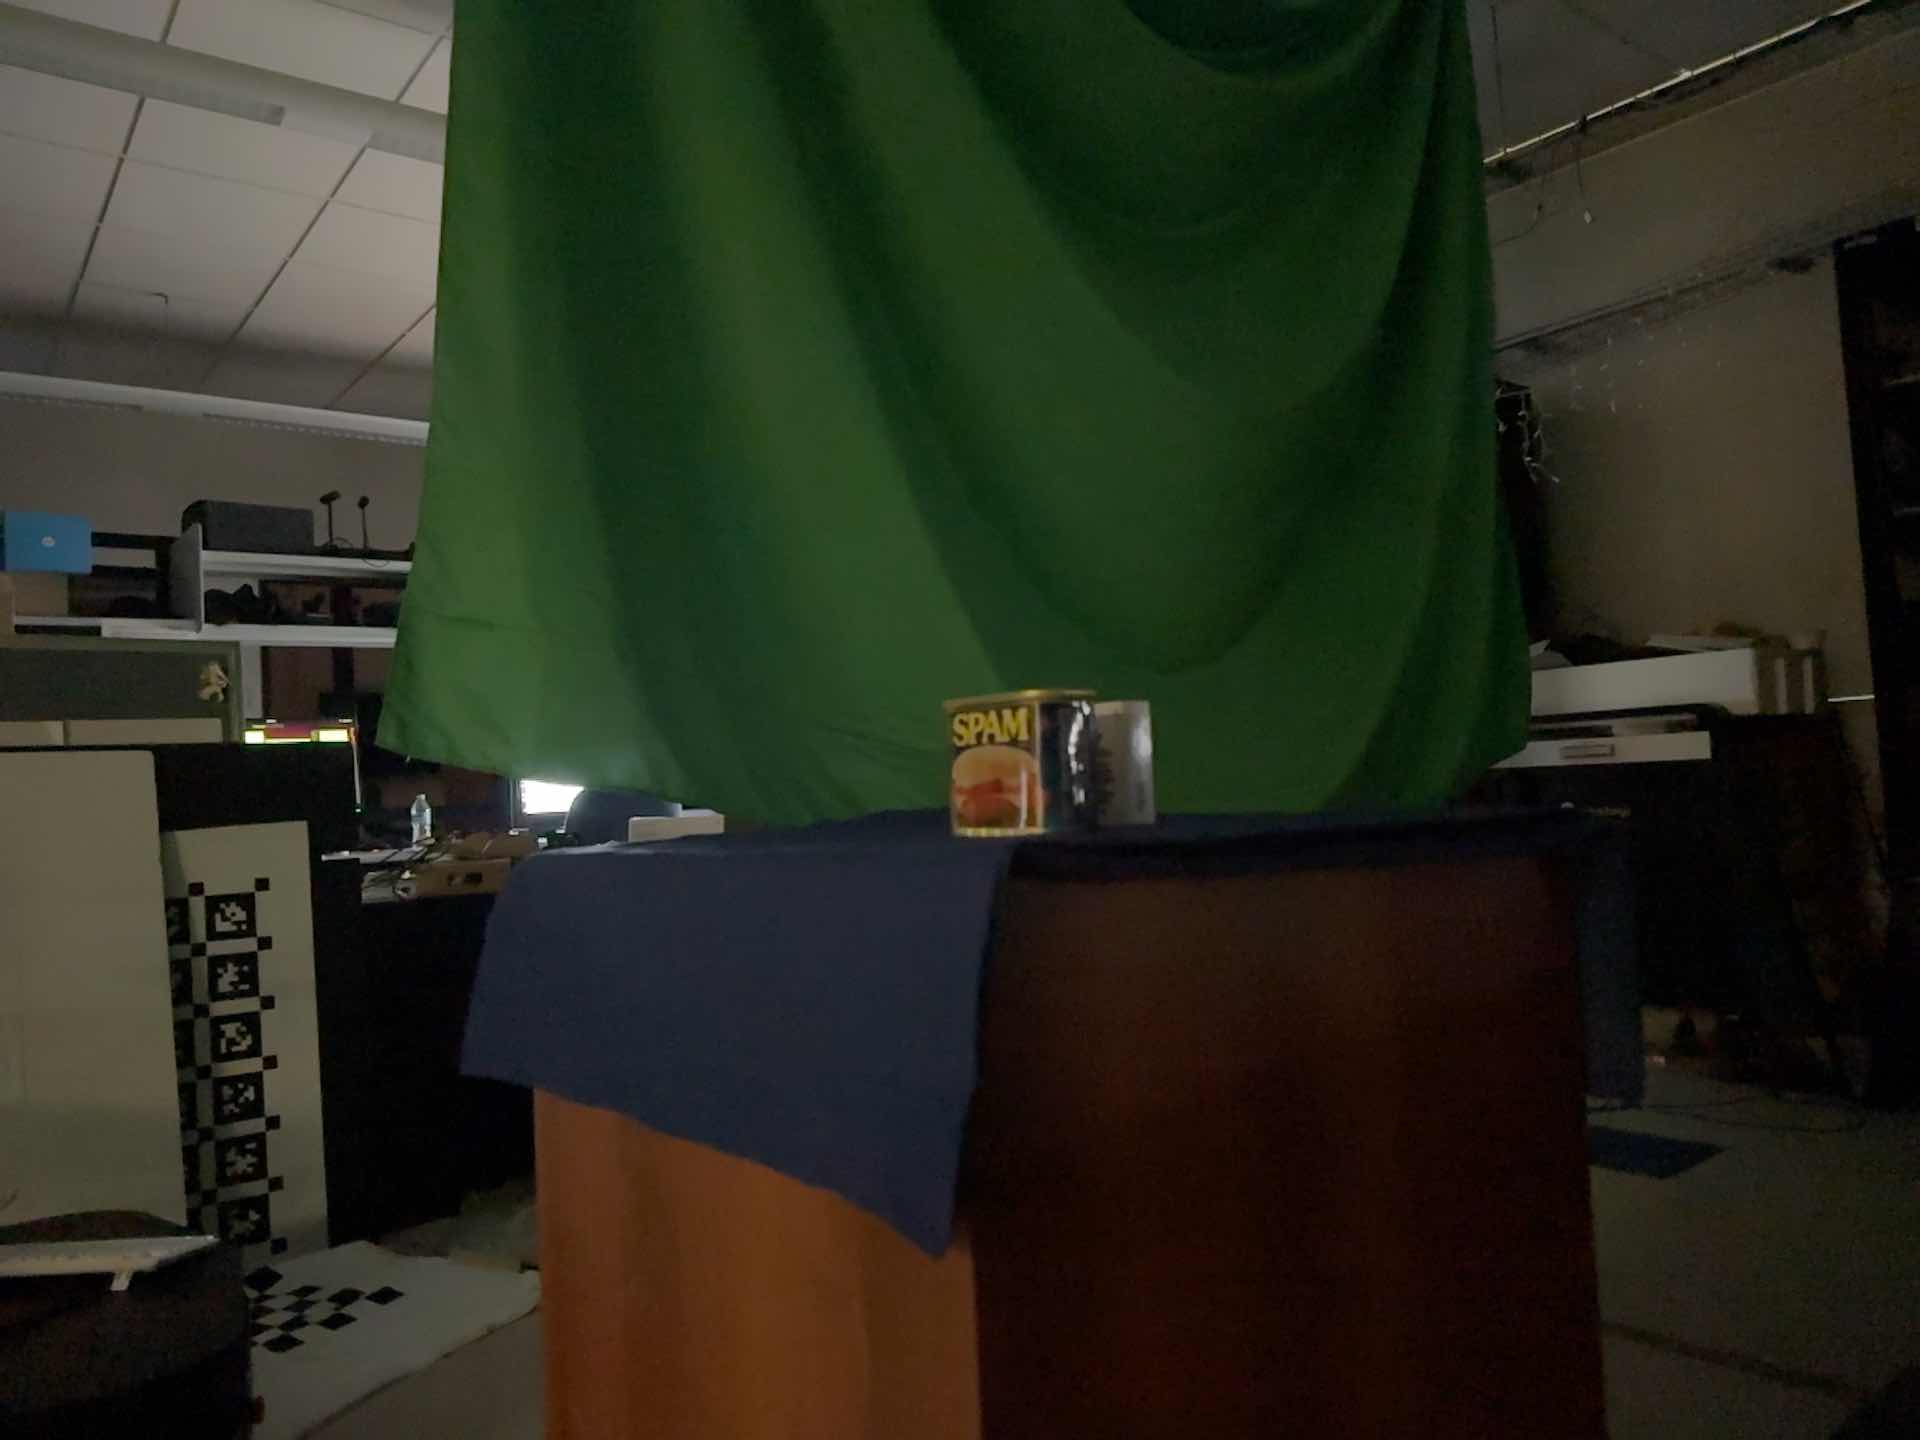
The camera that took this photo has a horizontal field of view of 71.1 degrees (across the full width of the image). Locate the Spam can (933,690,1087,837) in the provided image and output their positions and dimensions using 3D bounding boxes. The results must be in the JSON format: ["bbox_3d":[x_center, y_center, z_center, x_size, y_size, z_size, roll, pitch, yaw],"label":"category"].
[{"bbox_3d":[0.029,0.026,0.815,0.056,0.083,0.100,1,-2,-36],"label":"Spam can"}]

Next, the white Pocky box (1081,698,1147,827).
[{"bbox_3d":[0.075,0.031,0.933,0.028,0.084,0.154,0,-3,-27],"label":"white Pocky box"}]
